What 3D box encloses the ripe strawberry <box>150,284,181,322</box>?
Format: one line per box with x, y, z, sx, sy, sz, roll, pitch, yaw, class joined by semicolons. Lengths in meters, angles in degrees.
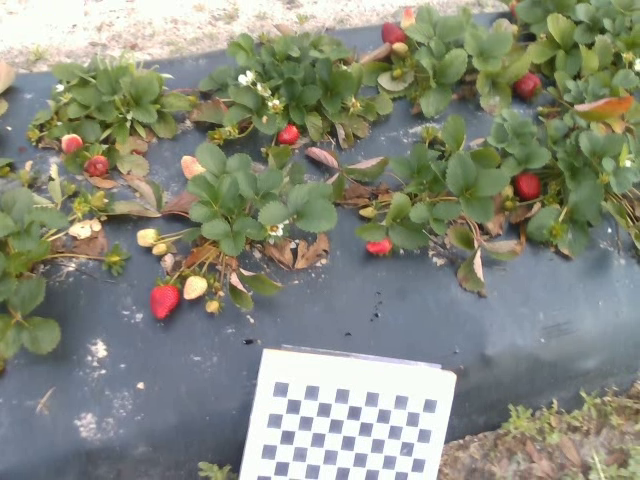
-0.220;0.087;0.770;0.050;0.059;0.034;-2;-44;-8;ripe strawberry
